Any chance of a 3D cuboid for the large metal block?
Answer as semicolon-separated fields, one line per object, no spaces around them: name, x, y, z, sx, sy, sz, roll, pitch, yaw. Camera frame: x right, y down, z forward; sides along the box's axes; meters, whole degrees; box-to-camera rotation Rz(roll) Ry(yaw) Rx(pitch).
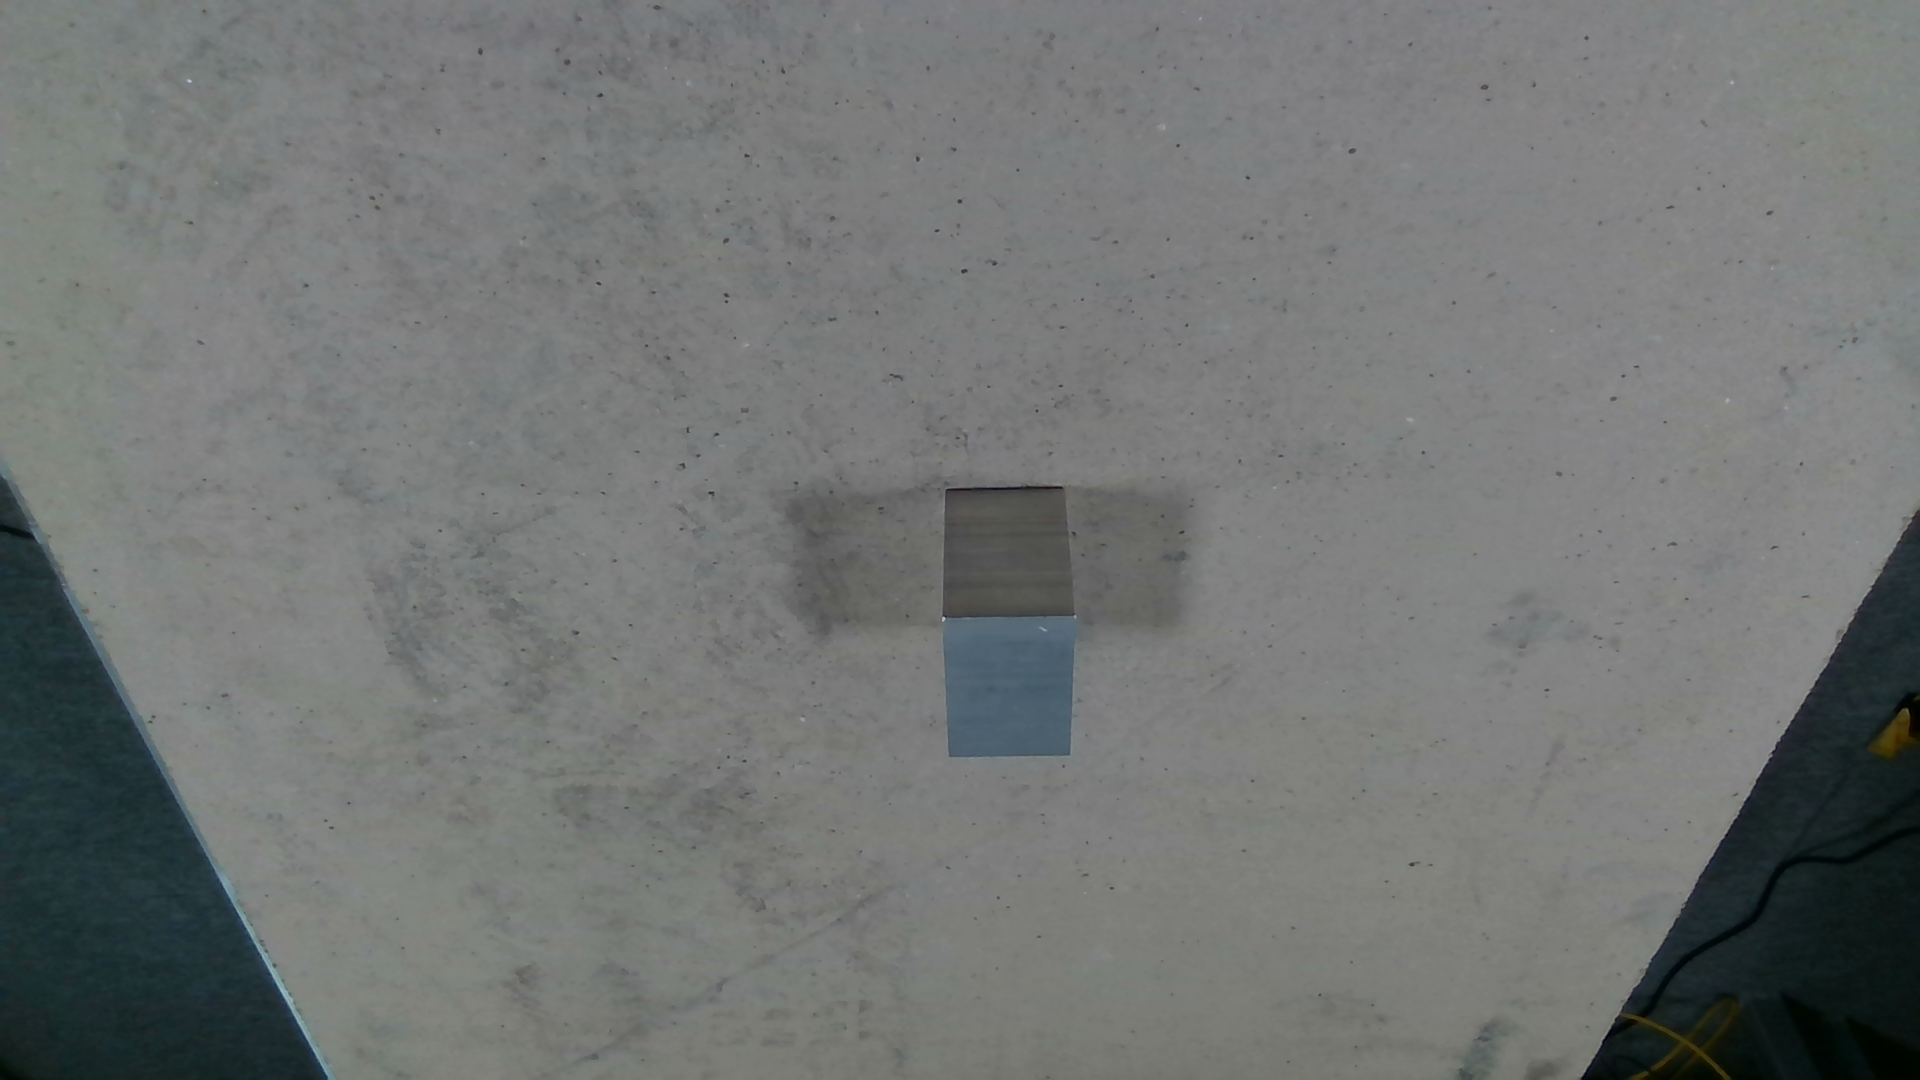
large metal block;0.019;0.033;0.572;0.050;0.080;0.080;-1;130;1
